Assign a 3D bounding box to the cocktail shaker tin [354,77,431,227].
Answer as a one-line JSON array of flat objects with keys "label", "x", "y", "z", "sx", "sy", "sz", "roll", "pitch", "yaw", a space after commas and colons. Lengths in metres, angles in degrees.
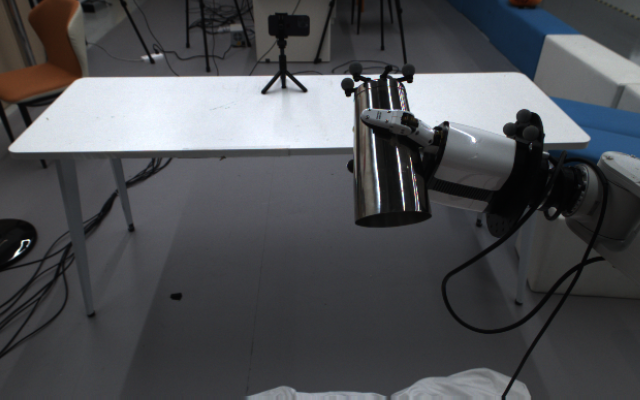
[{"label": "cocktail shaker tin", "x": 0.083, "y": -0.058, "z": 0.599, "sx": 0.093, "sy": 0.093, "sz": 0.170, "roll": -3, "pitch": 76, "yaw": -8}]
